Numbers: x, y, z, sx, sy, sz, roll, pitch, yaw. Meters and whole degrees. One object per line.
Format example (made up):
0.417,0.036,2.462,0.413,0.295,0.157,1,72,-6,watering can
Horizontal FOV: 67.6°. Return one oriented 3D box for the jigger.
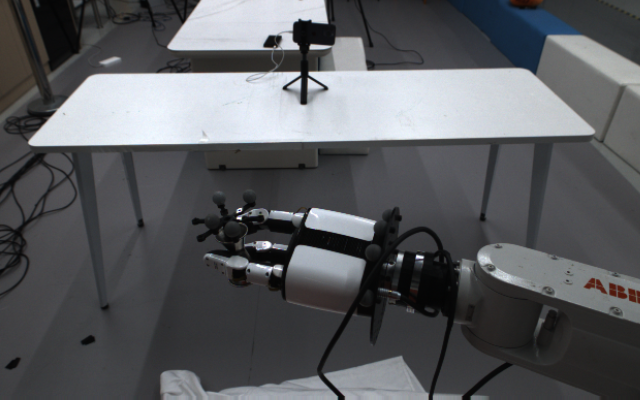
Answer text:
-0.097,0.064,0.597,0.043,0.071,0.043,-9,31,5,jigger
